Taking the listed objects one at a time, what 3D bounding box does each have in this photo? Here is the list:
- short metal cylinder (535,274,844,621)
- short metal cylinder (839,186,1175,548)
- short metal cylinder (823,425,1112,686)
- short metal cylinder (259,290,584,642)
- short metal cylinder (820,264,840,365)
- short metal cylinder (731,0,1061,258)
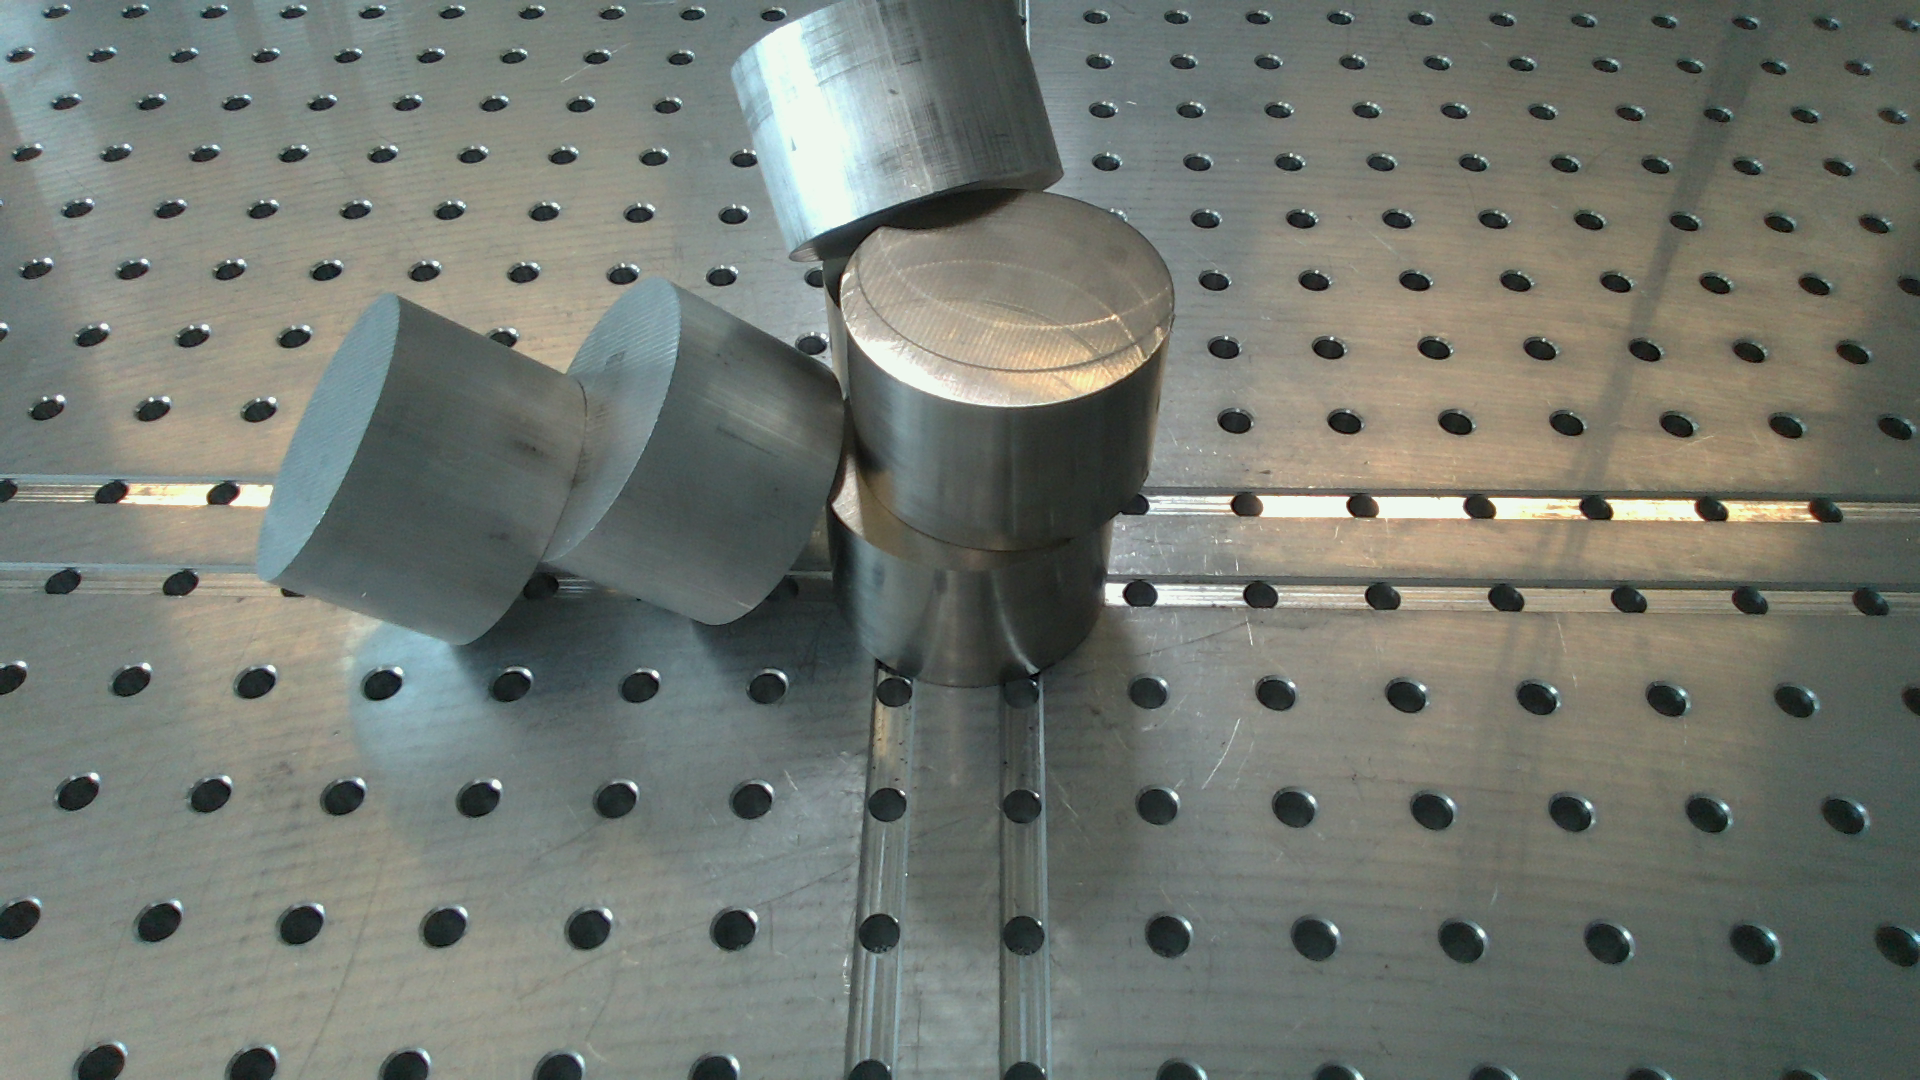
[{"bbox_3d":[-0.076,-0.024,0.369,0.050,0.080,0.080,26,39,-34],"label":"short metal cylinder"},{"bbox_3d":[0.011,-0.045,0.348,0.080,0.050,0.080,0,50,0],"label":"short metal cylinder"},{"bbox_3d":[0.002,-0.007,0.383,0.080,0.050,0.080,0,50,0],"label":"short metal cylinder"},{"bbox_3d":[-0.143,-0.019,0.366,0.050,0.080,0.080,26,39,-35],"label":"short metal cylinder"},{"bbox_3d":[-0.002,-0.069,0.436,0.080,0.050,0.080,0,50,0],"label":"short metal cylinder"},{"bbox_3d":[-0.017,-0.114,0.380,0.080,0.080,0.050,-19,96,-15],"label":"short metal cylinder"}]
